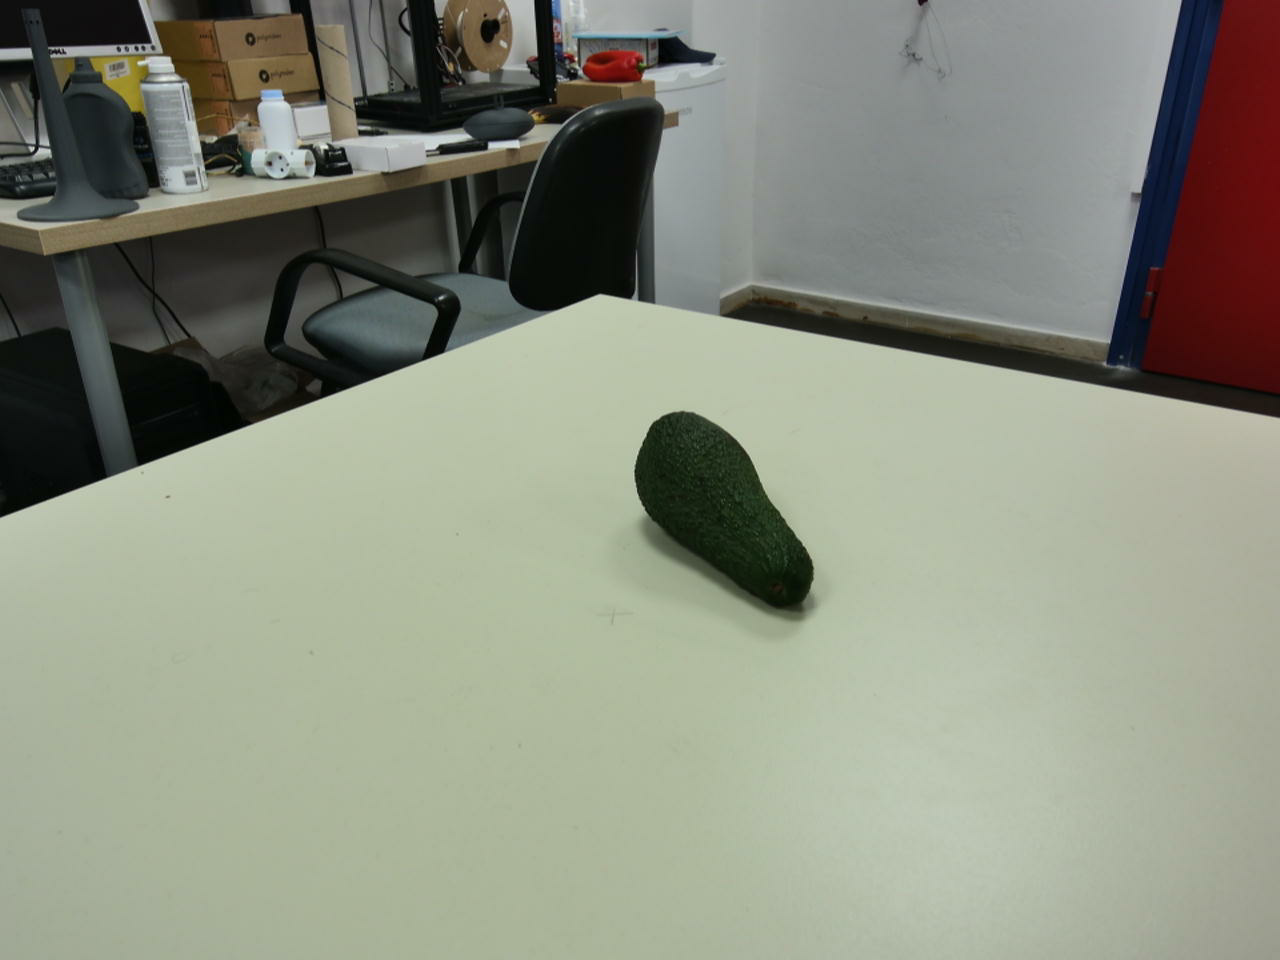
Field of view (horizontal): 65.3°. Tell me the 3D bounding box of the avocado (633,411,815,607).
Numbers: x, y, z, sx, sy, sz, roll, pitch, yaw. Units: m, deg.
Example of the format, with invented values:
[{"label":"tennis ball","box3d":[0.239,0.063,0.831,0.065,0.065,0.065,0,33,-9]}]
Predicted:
[{"label":"avocado","box3d":[0.048,0.009,0.520,0.063,0.067,0.141,-17,30,-34]}]
